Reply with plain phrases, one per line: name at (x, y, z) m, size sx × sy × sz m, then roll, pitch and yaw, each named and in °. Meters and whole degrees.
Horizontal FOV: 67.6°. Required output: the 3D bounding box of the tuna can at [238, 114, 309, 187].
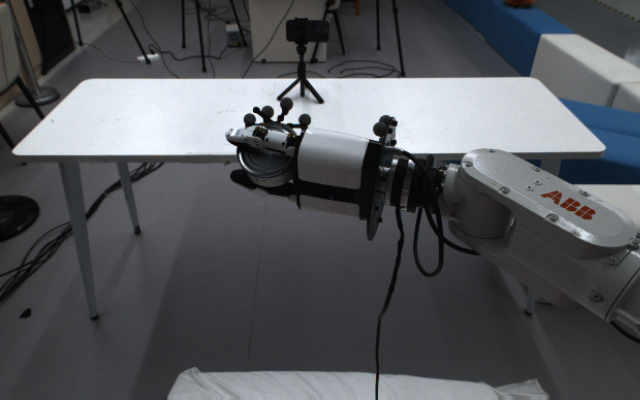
tuna can at (-0.067, -0.061, 0.654) m, size 0.085 × 0.034 × 0.085 m, roll -3°, pitch 61°, yaw 6°
